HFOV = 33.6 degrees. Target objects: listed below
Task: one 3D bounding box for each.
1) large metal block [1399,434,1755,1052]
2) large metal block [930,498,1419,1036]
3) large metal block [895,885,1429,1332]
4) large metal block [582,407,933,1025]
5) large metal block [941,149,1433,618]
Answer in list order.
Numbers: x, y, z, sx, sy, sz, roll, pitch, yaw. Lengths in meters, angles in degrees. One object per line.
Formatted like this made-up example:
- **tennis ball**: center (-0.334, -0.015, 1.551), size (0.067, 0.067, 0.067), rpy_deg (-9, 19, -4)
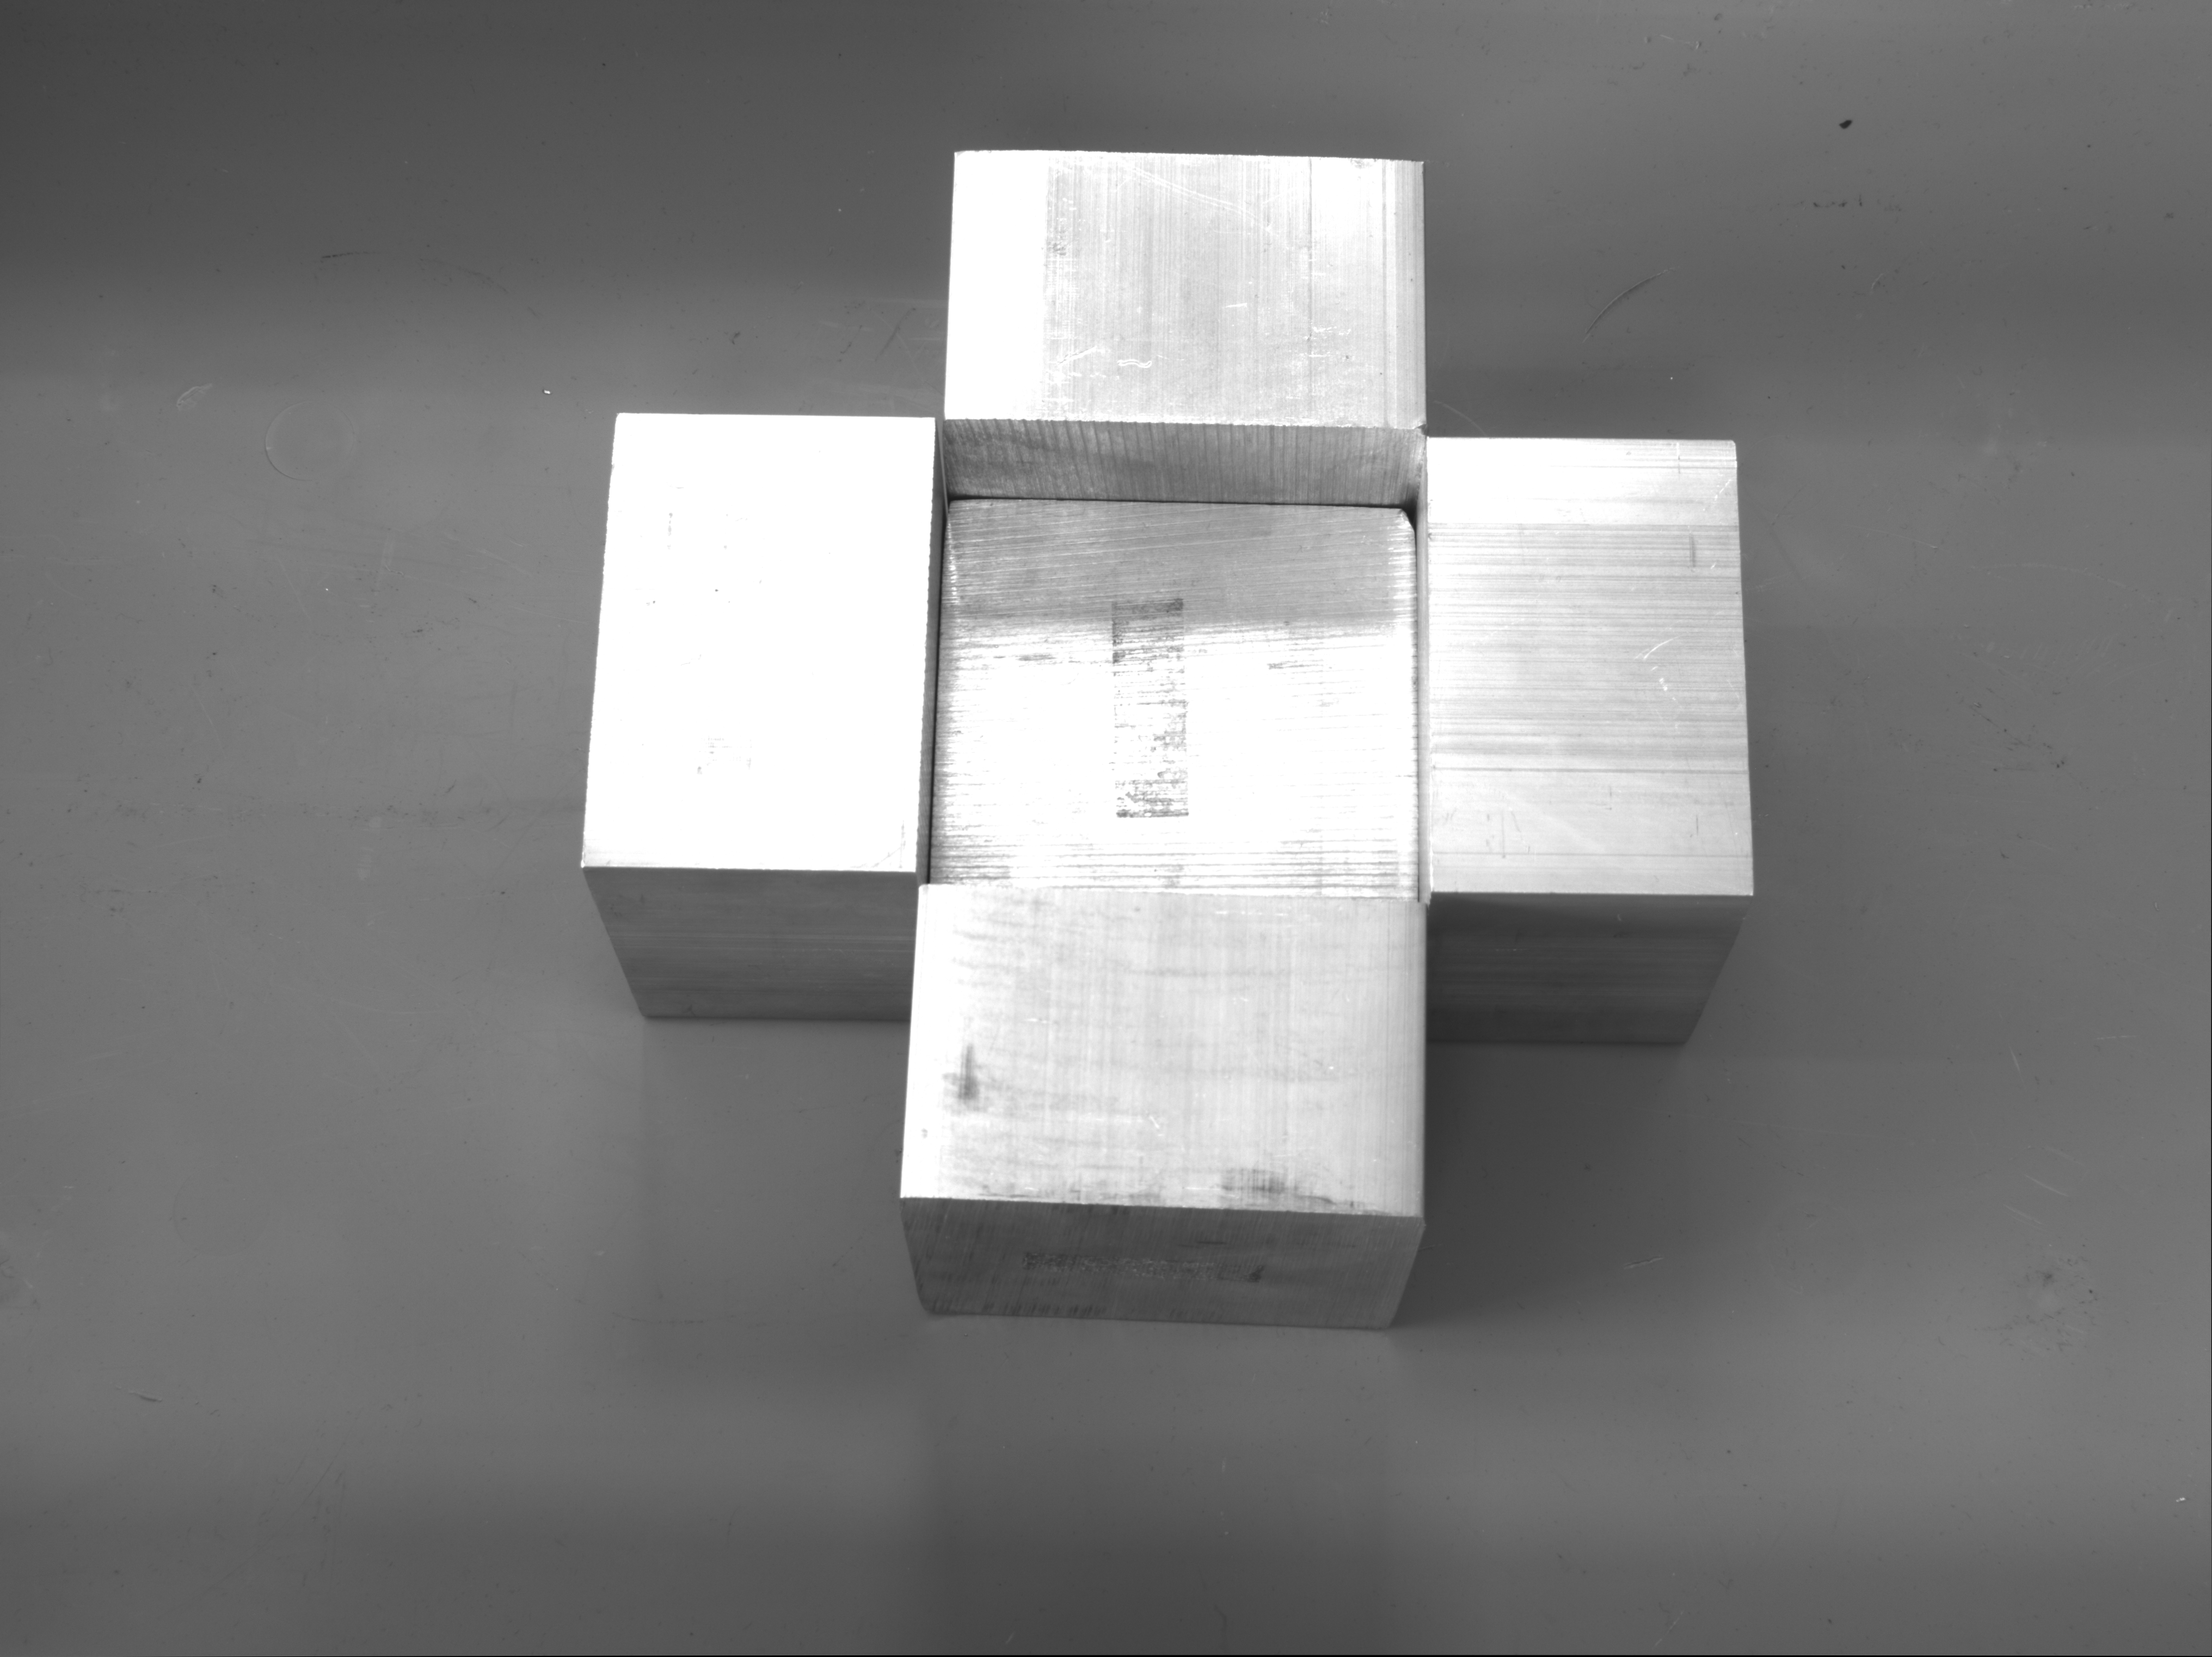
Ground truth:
- **large metal block**: center (0.077, -0.012, 0.620), size (0.050, 0.080, 0.080), rpy_deg (1, 70, 1)
- **large metal block**: center (0.012, -0.009, 0.633), size (0.080, 0.050, 0.080), rpy_deg (1, 70, 0)
- **large metal block**: center (0.009, 0.047, 0.597), size (0.080, 0.080, 0.050), rpy_deg (2, 70, 1)
- **large metal block**: center (-0.056, -0.017, 0.621), size (0.050, 0.080, 0.080), rpy_deg (1, 70, 1)
- **large metal block**: center (0.014, -0.076, 0.642), size (0.080, 0.080, 0.050), rpy_deg (1, 70, 0)
